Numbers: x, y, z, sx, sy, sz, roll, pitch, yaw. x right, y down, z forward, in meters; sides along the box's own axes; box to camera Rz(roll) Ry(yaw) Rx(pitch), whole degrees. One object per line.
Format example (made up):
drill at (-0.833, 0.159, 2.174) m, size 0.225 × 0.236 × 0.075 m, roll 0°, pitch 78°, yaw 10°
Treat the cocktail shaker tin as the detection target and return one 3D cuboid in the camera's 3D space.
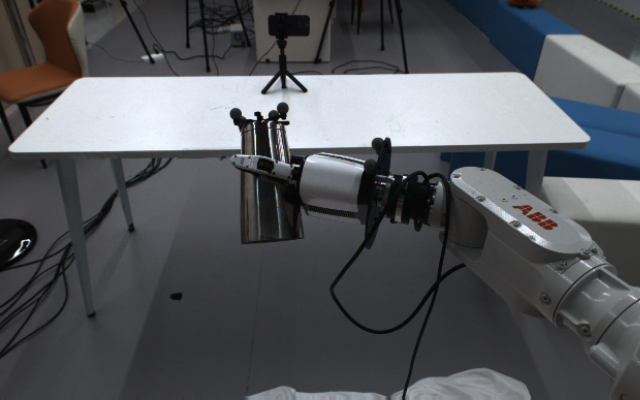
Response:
cocktail shaker tin at (-0.077, -0.025, 0.709) m, size 0.093 × 0.170 × 0.093 m, roll -6°, pitch -7°, yaw -1°
